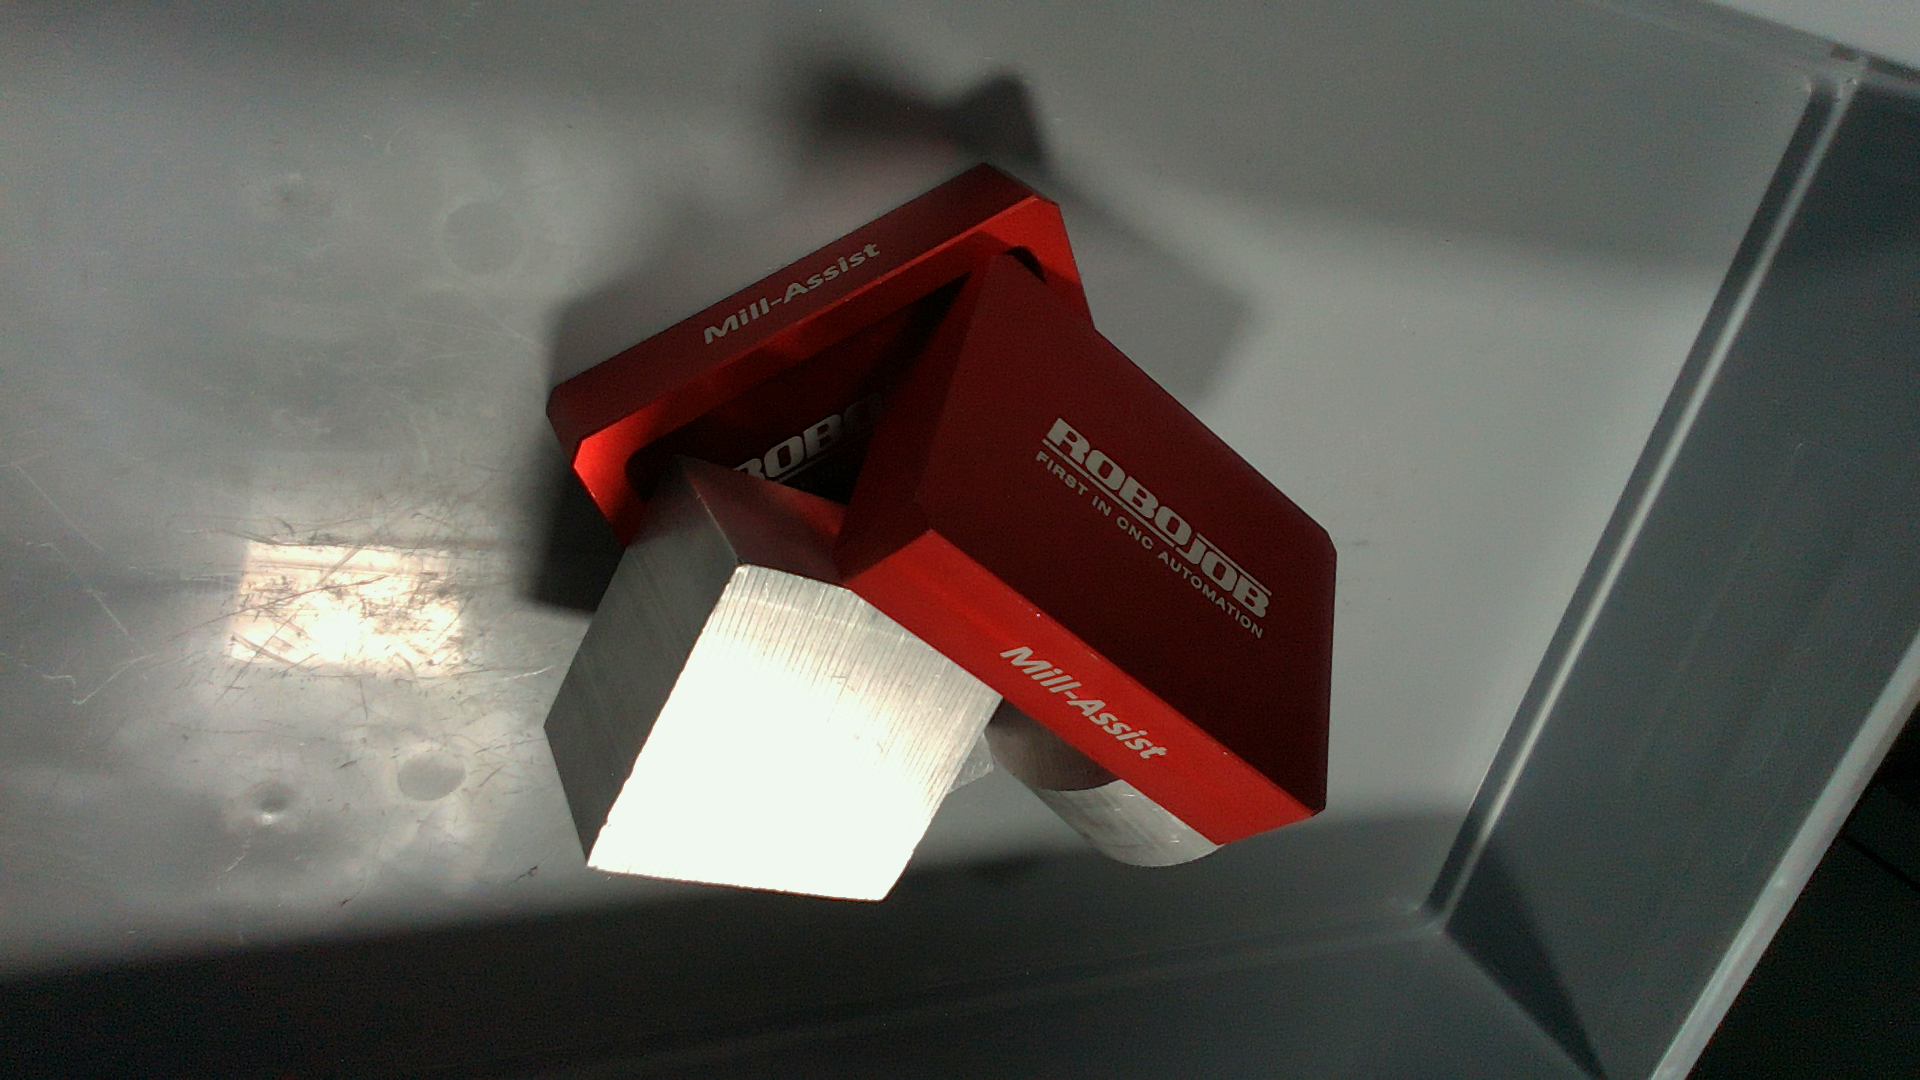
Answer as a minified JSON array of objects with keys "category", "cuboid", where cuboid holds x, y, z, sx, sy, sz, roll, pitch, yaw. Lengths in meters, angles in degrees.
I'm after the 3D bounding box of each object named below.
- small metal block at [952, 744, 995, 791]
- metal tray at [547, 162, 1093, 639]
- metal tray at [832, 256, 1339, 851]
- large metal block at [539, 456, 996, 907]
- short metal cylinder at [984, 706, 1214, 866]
[{"category":"small metal block","cuboid":[-0.022,0.056,0.410,0.050,0.025,0.050,-26,128,-12]},{"category":"metal tray","cuboid":[-0.026,-0.026,0.354,0.130,0.030,0.090,-30,128,-9]},{"category":"metal tray","cuboid":[0.038,0.005,0.332,0.130,0.090,0.030,37,136,-24]},{"category":"large metal block","cuboid":[-0.043,0.036,0.329,0.080,0.050,0.080,17,109,-35]},{"category":"short metal cylinder","cuboid":[0.053,0.050,0.412,0.080,0.080,0.050,-43,129,2]}]
